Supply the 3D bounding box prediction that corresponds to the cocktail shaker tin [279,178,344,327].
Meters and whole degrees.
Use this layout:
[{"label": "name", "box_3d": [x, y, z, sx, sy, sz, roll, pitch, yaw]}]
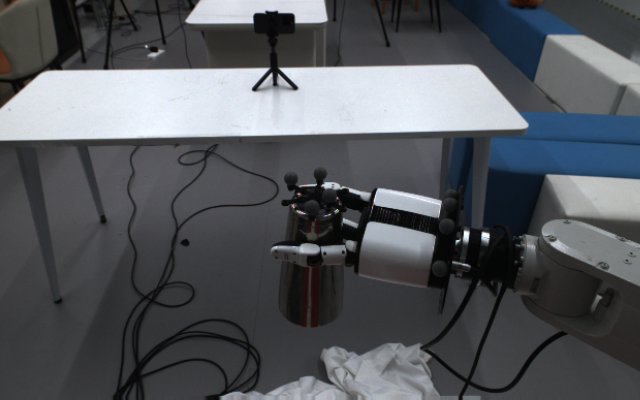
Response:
[{"label": "cocktail shaker tin", "box_3d": [-0.006, 0.072, 0.642, 0.093, 0.170, 0.093, 2, 33, -2]}]
